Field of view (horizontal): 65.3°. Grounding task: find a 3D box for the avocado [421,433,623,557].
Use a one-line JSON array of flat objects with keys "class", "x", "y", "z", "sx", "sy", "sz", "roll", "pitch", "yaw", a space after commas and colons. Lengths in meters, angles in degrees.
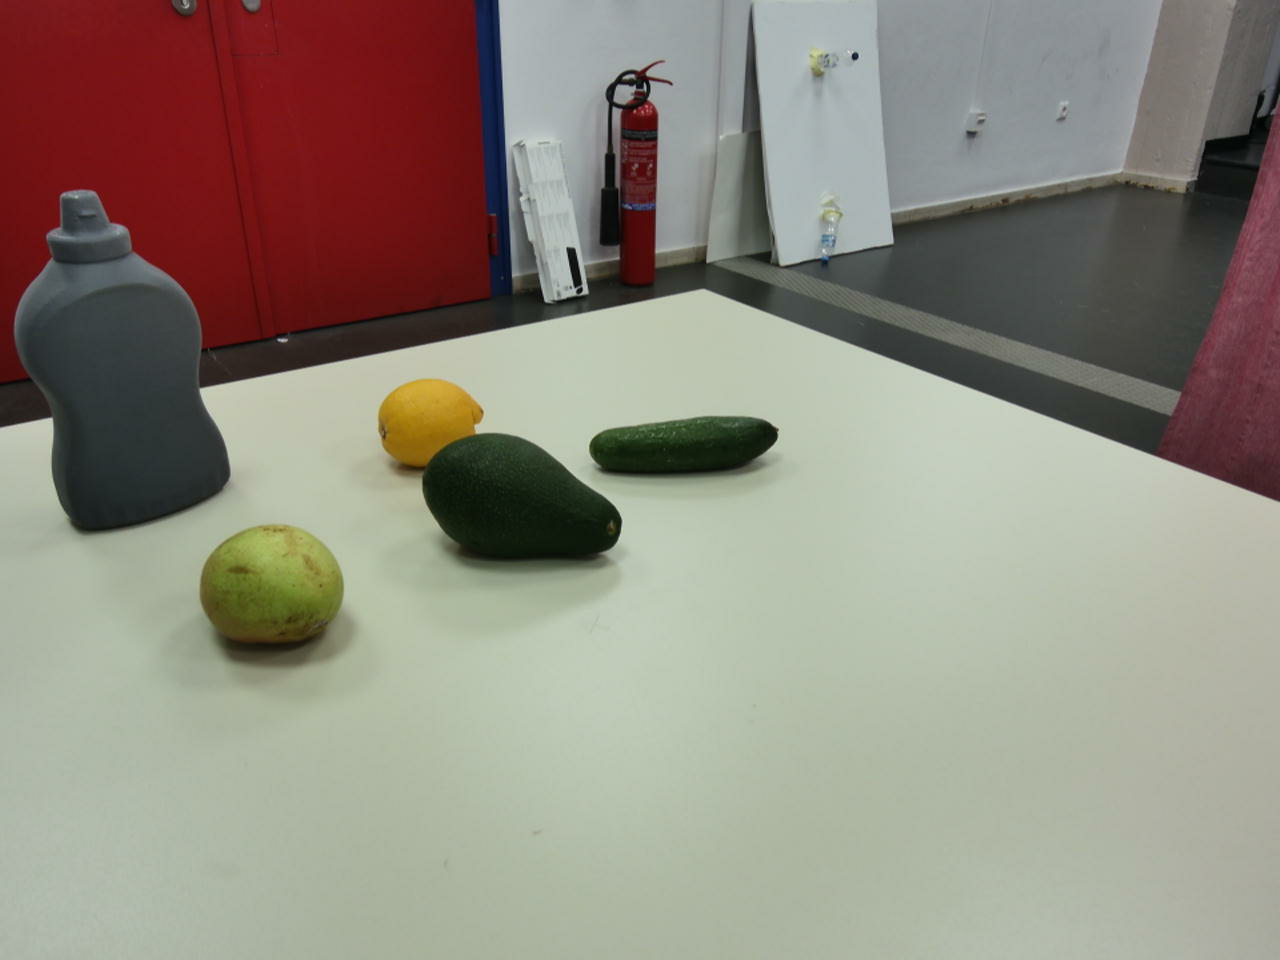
[{"class": "avocado", "x": -0.071, "y": 0.010, "z": 0.574, "sx": 0.110, "sy": 0.071, "sz": 0.072, "roll": 14, "pitch": 29, "yaw": 27}]
